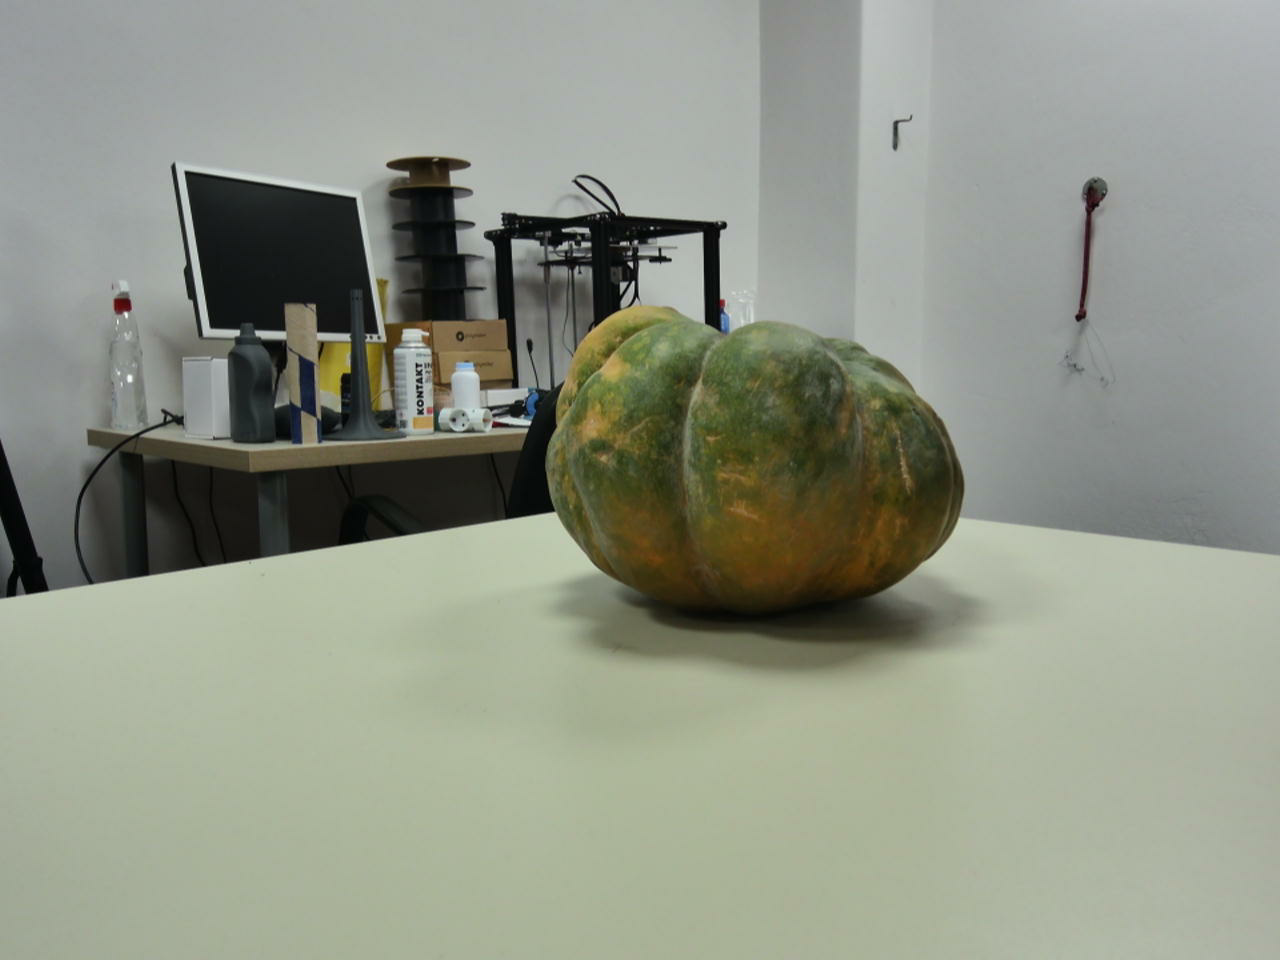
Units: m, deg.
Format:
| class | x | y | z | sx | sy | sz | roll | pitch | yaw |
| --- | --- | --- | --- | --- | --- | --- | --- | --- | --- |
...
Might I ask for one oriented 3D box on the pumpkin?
| class | x | y | z | sx | sy | sz | roll | pitch | yaw |
| --- | --- | --- | --- | --- | --- | --- | --- | --- | --- |
| pumpkin | 0.065 | -0.015 | 0.593 | 0.237 | 0.173 | 0.270 | 0 | 5 | -5 |
